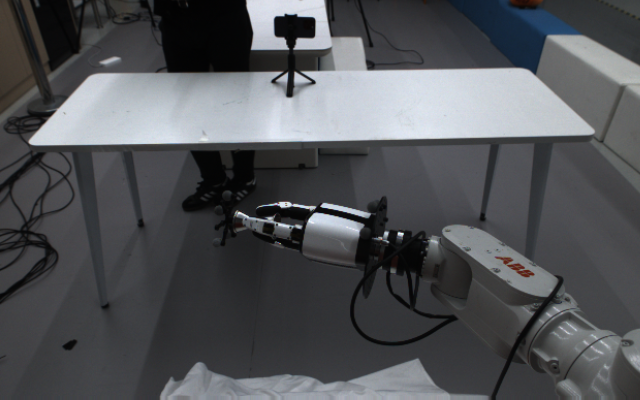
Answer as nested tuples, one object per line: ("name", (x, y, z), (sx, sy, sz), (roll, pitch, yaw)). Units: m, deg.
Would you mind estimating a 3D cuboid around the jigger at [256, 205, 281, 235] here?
("jigger", (-0.097, 0.036, 0.787), (0.071, 0.043, 0.043), (7, 35, 14))
